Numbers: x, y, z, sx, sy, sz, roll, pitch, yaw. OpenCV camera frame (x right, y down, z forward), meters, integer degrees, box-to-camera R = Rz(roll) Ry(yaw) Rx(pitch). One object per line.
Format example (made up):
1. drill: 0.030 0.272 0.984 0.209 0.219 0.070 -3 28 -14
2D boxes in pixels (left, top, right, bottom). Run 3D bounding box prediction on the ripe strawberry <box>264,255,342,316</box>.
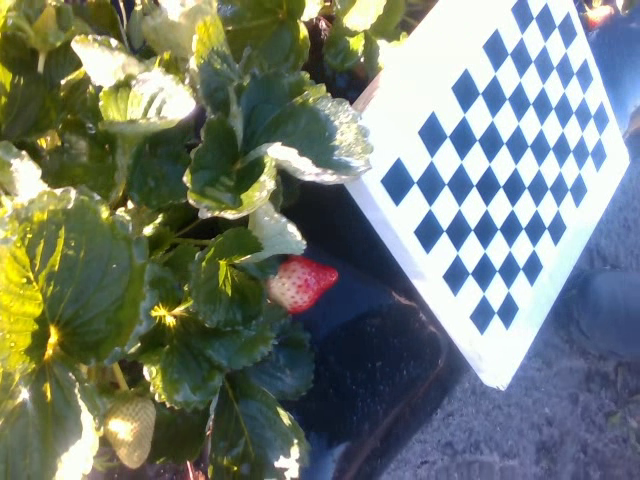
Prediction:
1. ripe strawberry: -0.007 0.033 0.436 0.065 0.040 0.040 -7 6 -38
